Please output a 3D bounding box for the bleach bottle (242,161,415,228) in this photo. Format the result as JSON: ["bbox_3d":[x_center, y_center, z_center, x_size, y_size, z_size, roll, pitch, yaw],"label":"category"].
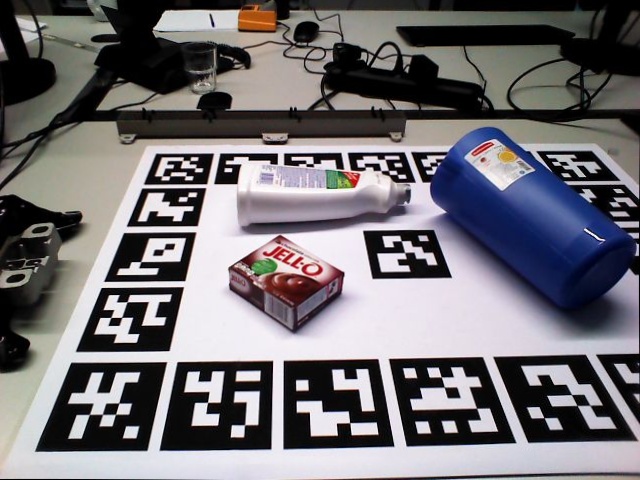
[{"bbox_3d":[0.016,-0.069,0.746,0.251,0.068,0.102,-1,43,-5],"label":"bleach bottle"}]

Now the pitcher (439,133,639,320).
[{"bbox_3d":[0.280,-0.017,0.660,0.188,0.134,0.242,15,30,-42],"label":"pitcher"}]

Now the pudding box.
[{"bbox_3d":[-0.038,0.046,0.615,0.114,0.039,0.089,33,43,31],"label":"pudding box"}]
